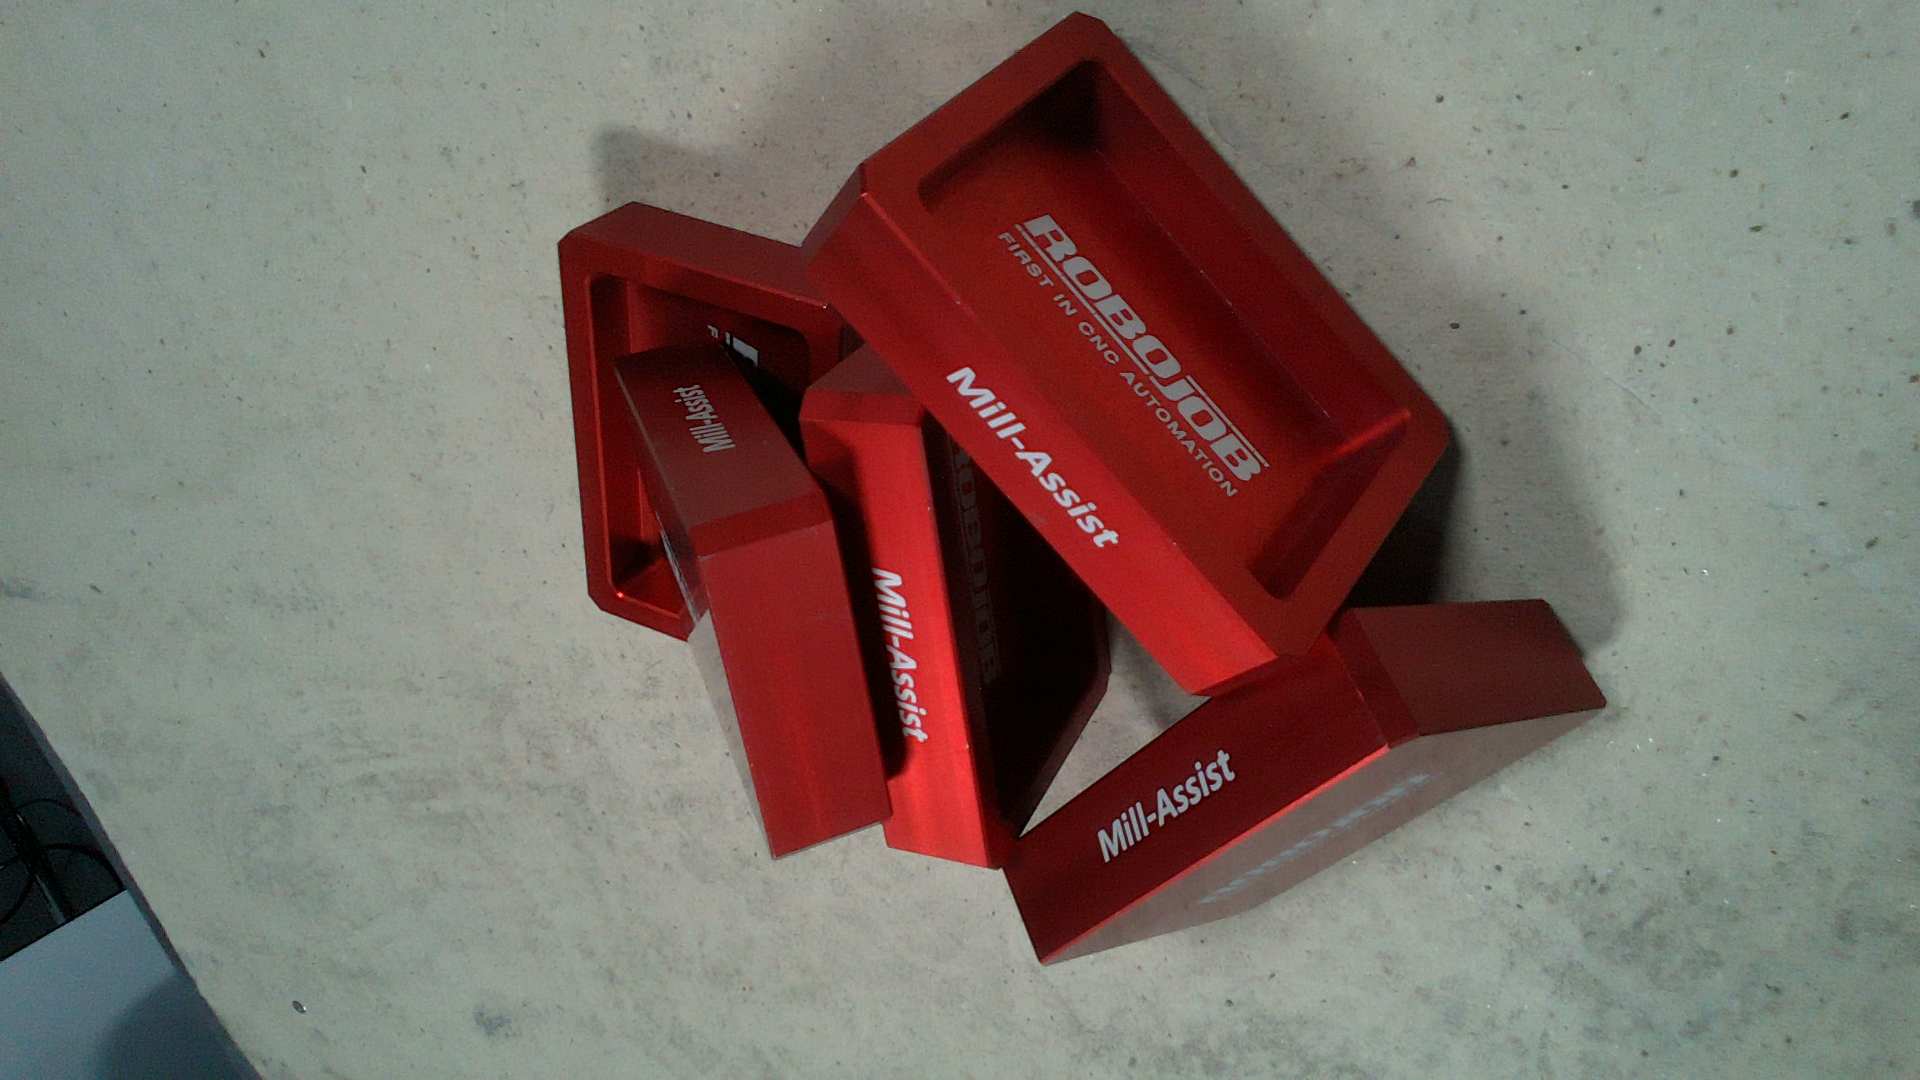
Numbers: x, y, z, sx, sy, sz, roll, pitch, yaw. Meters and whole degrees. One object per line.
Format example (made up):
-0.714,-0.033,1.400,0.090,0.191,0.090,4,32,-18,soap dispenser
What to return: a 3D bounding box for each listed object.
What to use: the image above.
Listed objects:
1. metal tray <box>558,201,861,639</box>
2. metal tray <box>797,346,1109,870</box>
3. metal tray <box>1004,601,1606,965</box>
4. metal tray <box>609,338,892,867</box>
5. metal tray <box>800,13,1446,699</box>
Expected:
-0.070,-0.026,0.411,0.090,0.030,0.130,18,126,18,metal tray
0.005,0.006,0.353,0.030,0.090,0.130,6,122,25,metal tray
0.082,0.062,0.345,0.130,0.090,0.030,-45,57,40,metal tray
-0.057,0.010,0.357,0.130,0.030,0.090,-130,28,-58,metal tray
0.040,-0.042,0.301,0.130,0.090,0.030,48,143,-5,metal tray
